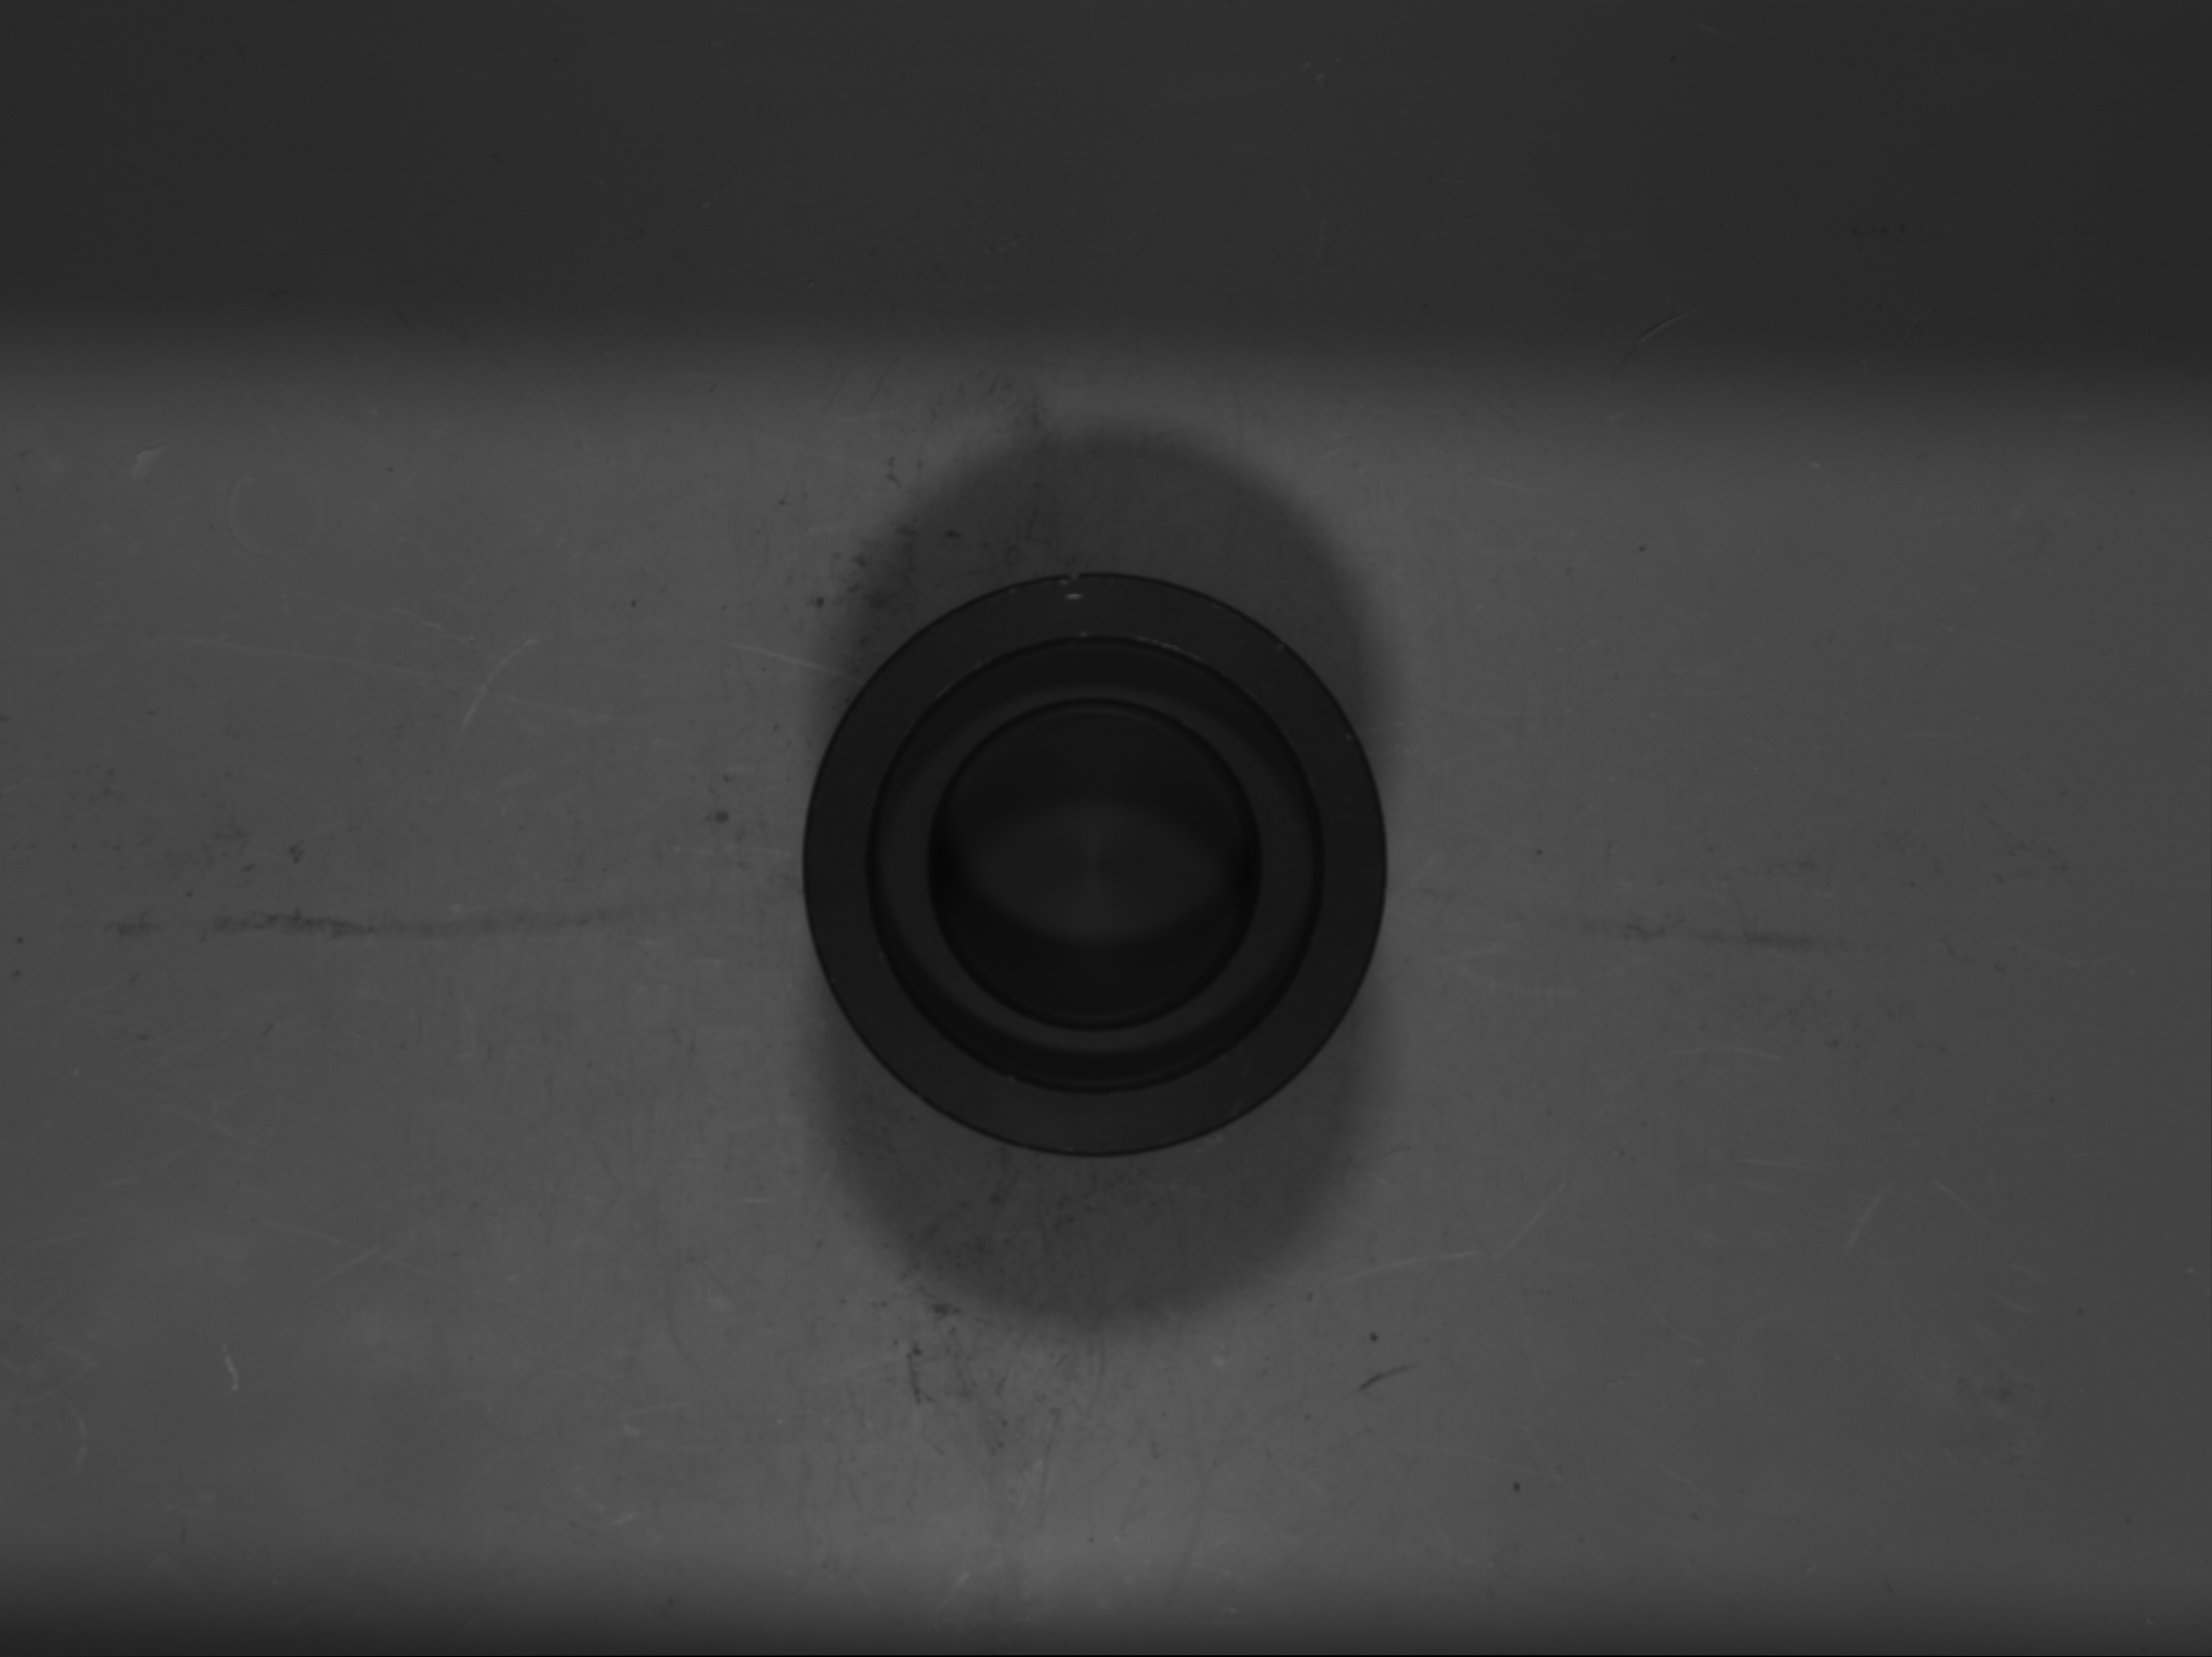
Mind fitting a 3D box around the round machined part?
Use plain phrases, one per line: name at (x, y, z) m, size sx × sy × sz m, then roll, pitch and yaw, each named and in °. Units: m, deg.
round machined part at (0.001, 0.006, 0.633) m, size 0.098 × 0.042 × 0.098 m, roll 0°, pitch 90°, yaw 0°
